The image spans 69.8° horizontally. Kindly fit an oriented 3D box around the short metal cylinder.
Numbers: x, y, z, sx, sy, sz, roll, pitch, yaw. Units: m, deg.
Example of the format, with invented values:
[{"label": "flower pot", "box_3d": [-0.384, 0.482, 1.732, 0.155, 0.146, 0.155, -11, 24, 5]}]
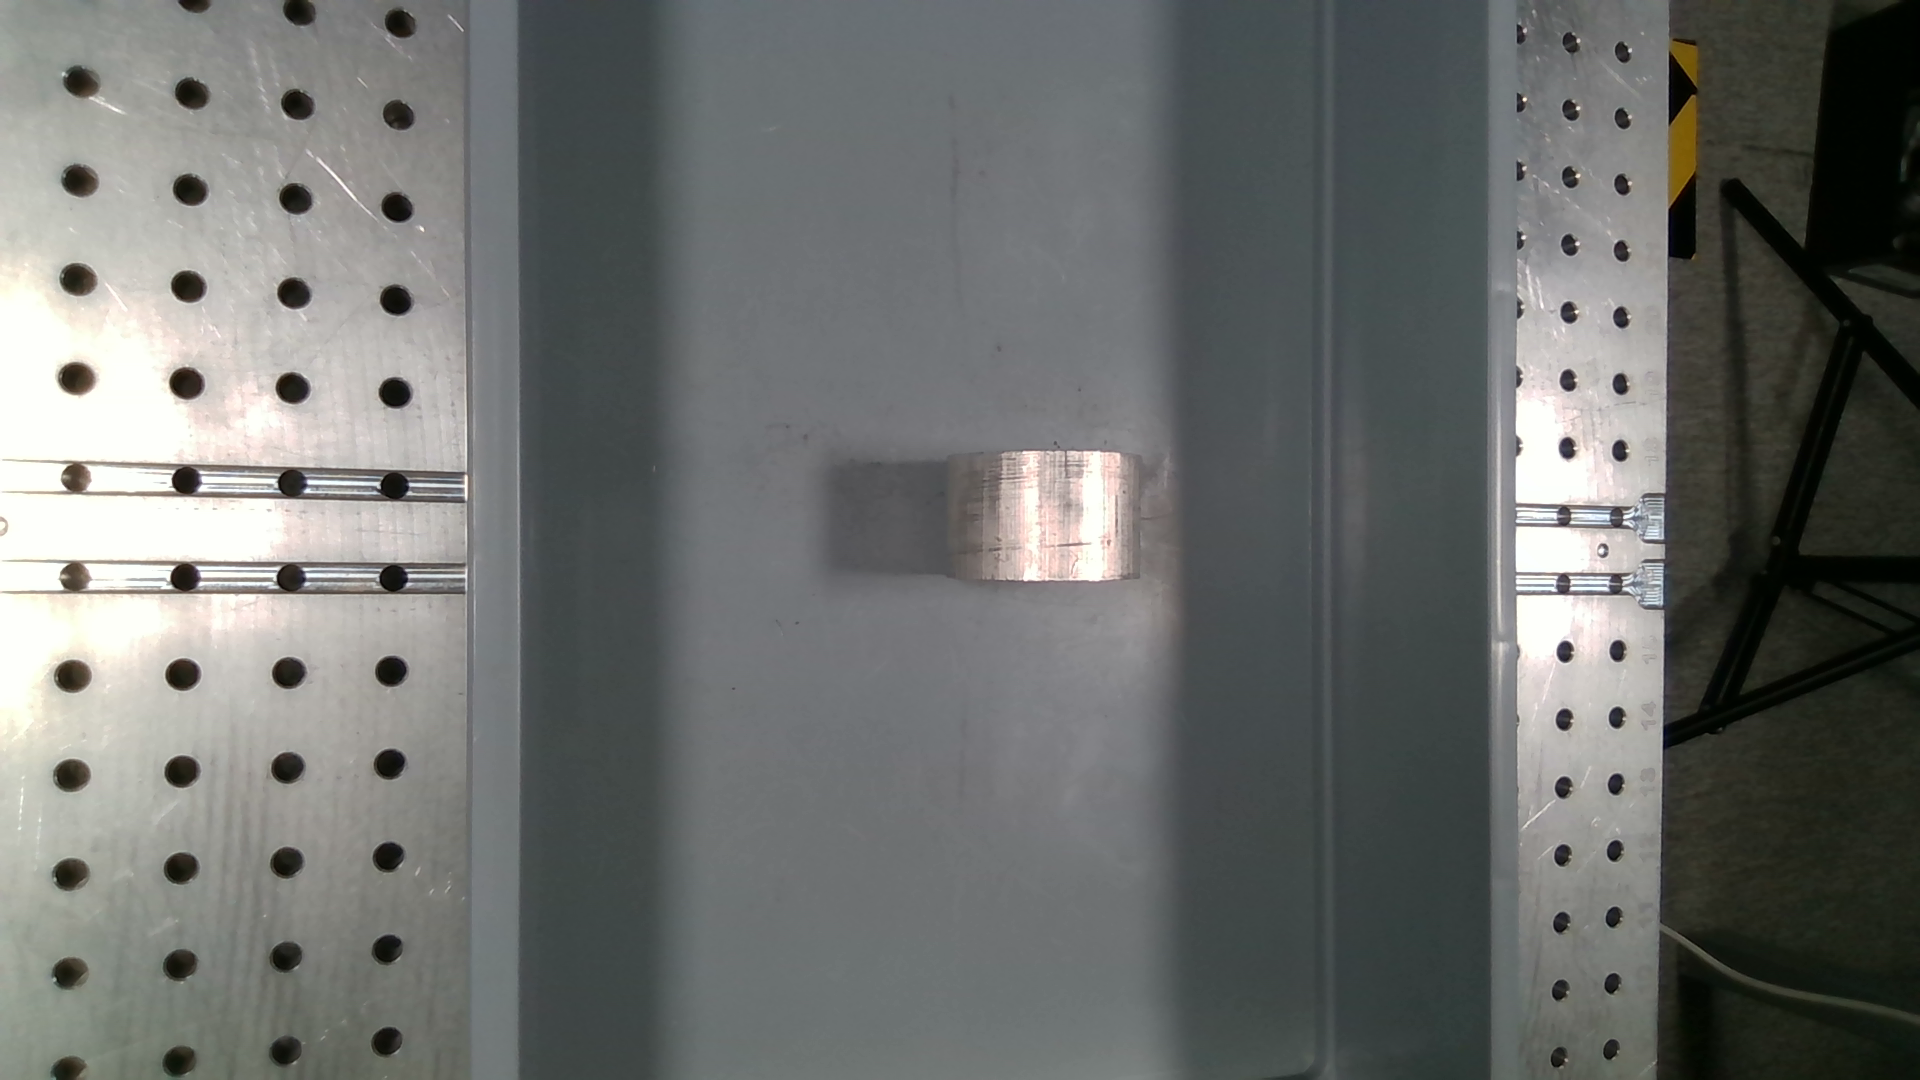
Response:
[{"label": "short metal cylinder", "box_3d": [0.034, -0.010, 0.567, 0.080, 0.080, 0.050, 0, 90, -20]}]
